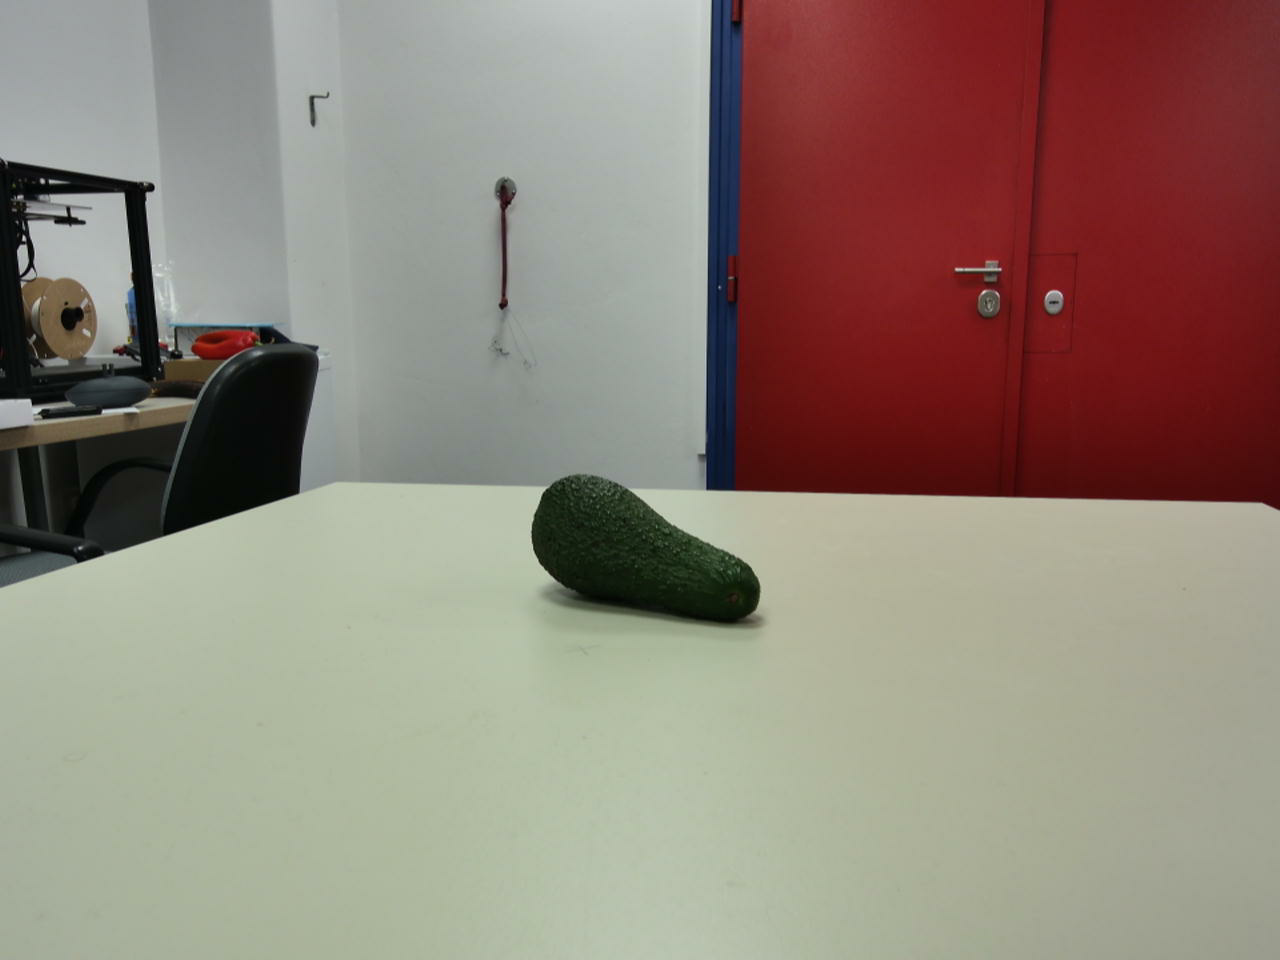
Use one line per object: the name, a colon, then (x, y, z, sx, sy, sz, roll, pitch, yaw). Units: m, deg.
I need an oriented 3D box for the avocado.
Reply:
avocado: (0.003, 0.032, 0.525, 0.141, 0.067, 0.063, 3, 7, 27)
